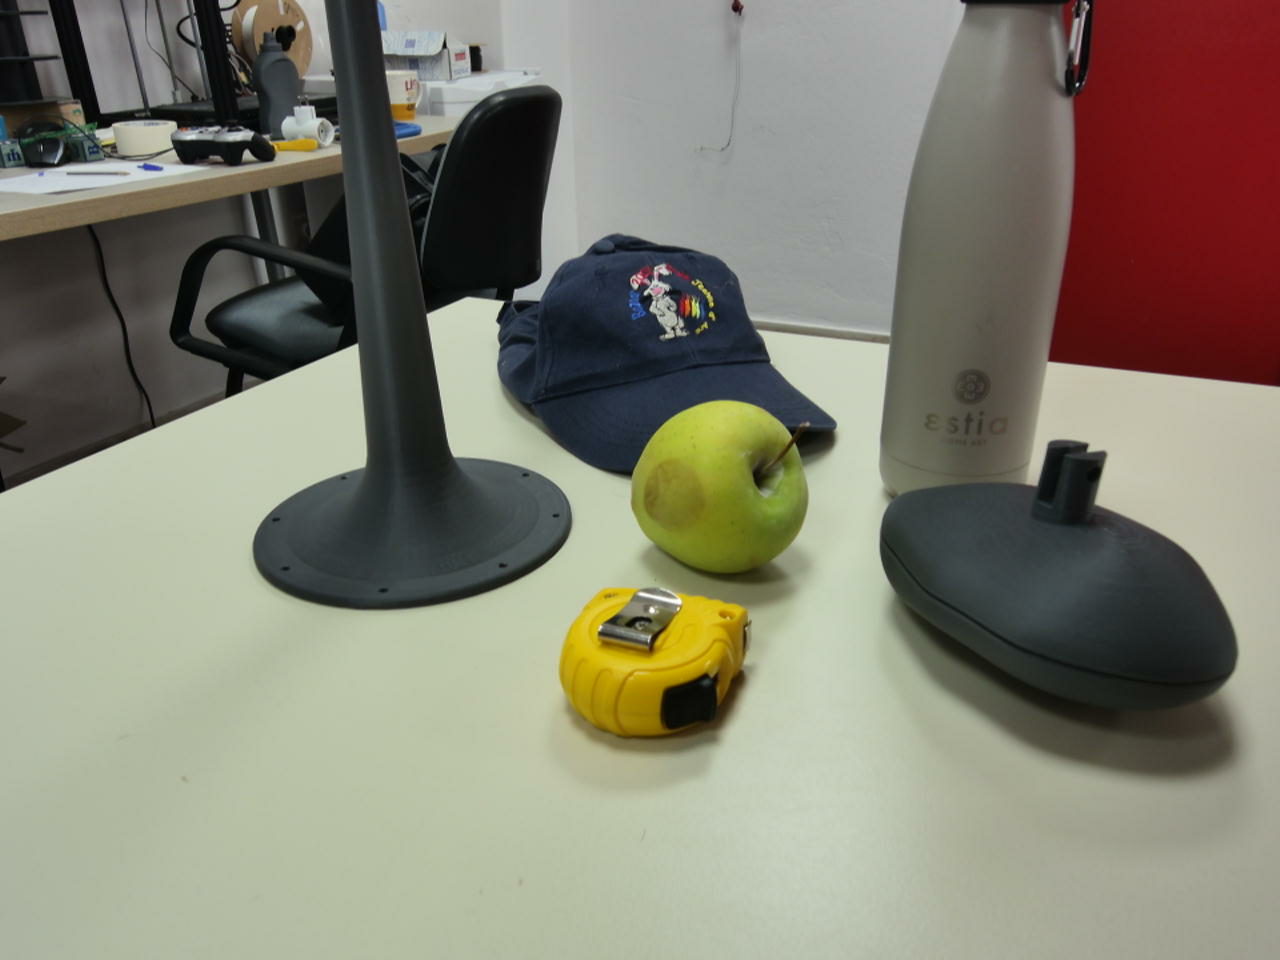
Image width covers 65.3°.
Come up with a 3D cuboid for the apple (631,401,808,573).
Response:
[{"bbox_3d":[0.035,0.002,0.438,0.072,0.075,0.077,-8,25,-18],"label":"apple"}]
